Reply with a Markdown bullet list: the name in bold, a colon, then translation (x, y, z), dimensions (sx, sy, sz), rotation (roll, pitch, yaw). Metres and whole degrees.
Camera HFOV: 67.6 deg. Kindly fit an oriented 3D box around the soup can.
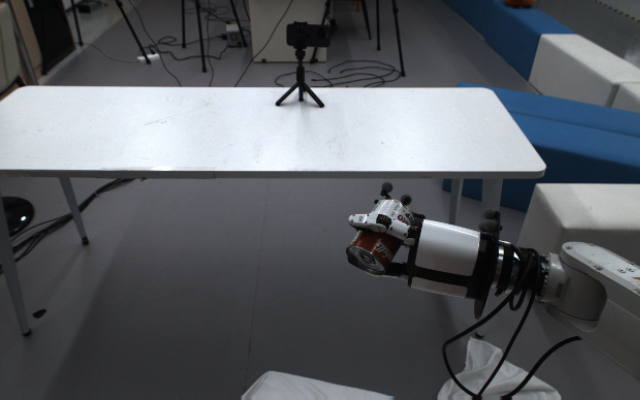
- **soup can**: translation (0.096, 0.054, 0.738), dimensions (0.067, 0.067, 0.101), rotation (22, 60, 26)
